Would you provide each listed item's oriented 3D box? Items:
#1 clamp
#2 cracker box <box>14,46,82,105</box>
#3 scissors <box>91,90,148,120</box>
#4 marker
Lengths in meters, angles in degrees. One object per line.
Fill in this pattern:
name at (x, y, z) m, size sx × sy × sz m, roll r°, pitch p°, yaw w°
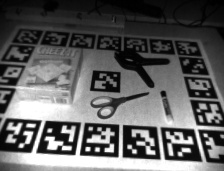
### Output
clamp at (0.085, -0.086, 0.823) m, size 0.201 × 0.037 × 0.166 m, roll 26°, pitch 50°, yaw 17°
cracker box at (-0.199, -0.040, 0.717) m, size 0.164 × 0.072 × 0.212 m, roll 4°, pitch 48°, yaw -1°
scissors at (0.031, 0.047, 0.691) m, size 0.204 × 0.016 × 0.086 m, roll -18°, pitch 51°, yaw -23°
marker at (0.173, 0.056, 0.694) m, size 0.020 × 0.020 × 0.120 m, roll 0°, pitch 47°, yaw -4°
